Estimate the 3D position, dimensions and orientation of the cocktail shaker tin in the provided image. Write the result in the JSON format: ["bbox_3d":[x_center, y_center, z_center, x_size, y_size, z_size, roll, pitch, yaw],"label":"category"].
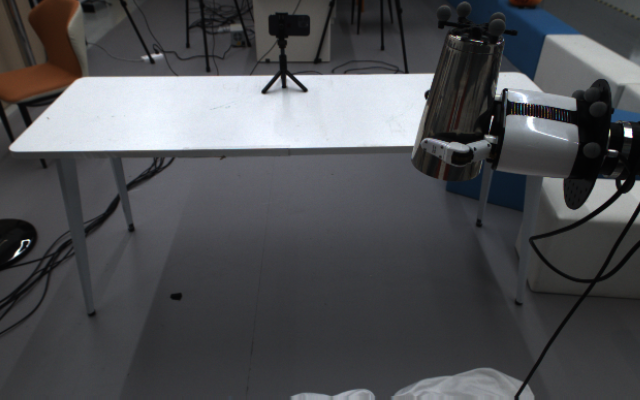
[{"bbox_3d":[0.176,-0.120,0.606,0.093,0.170,0.093,3,34,-2],"label":"cocktail shaker tin"}]
